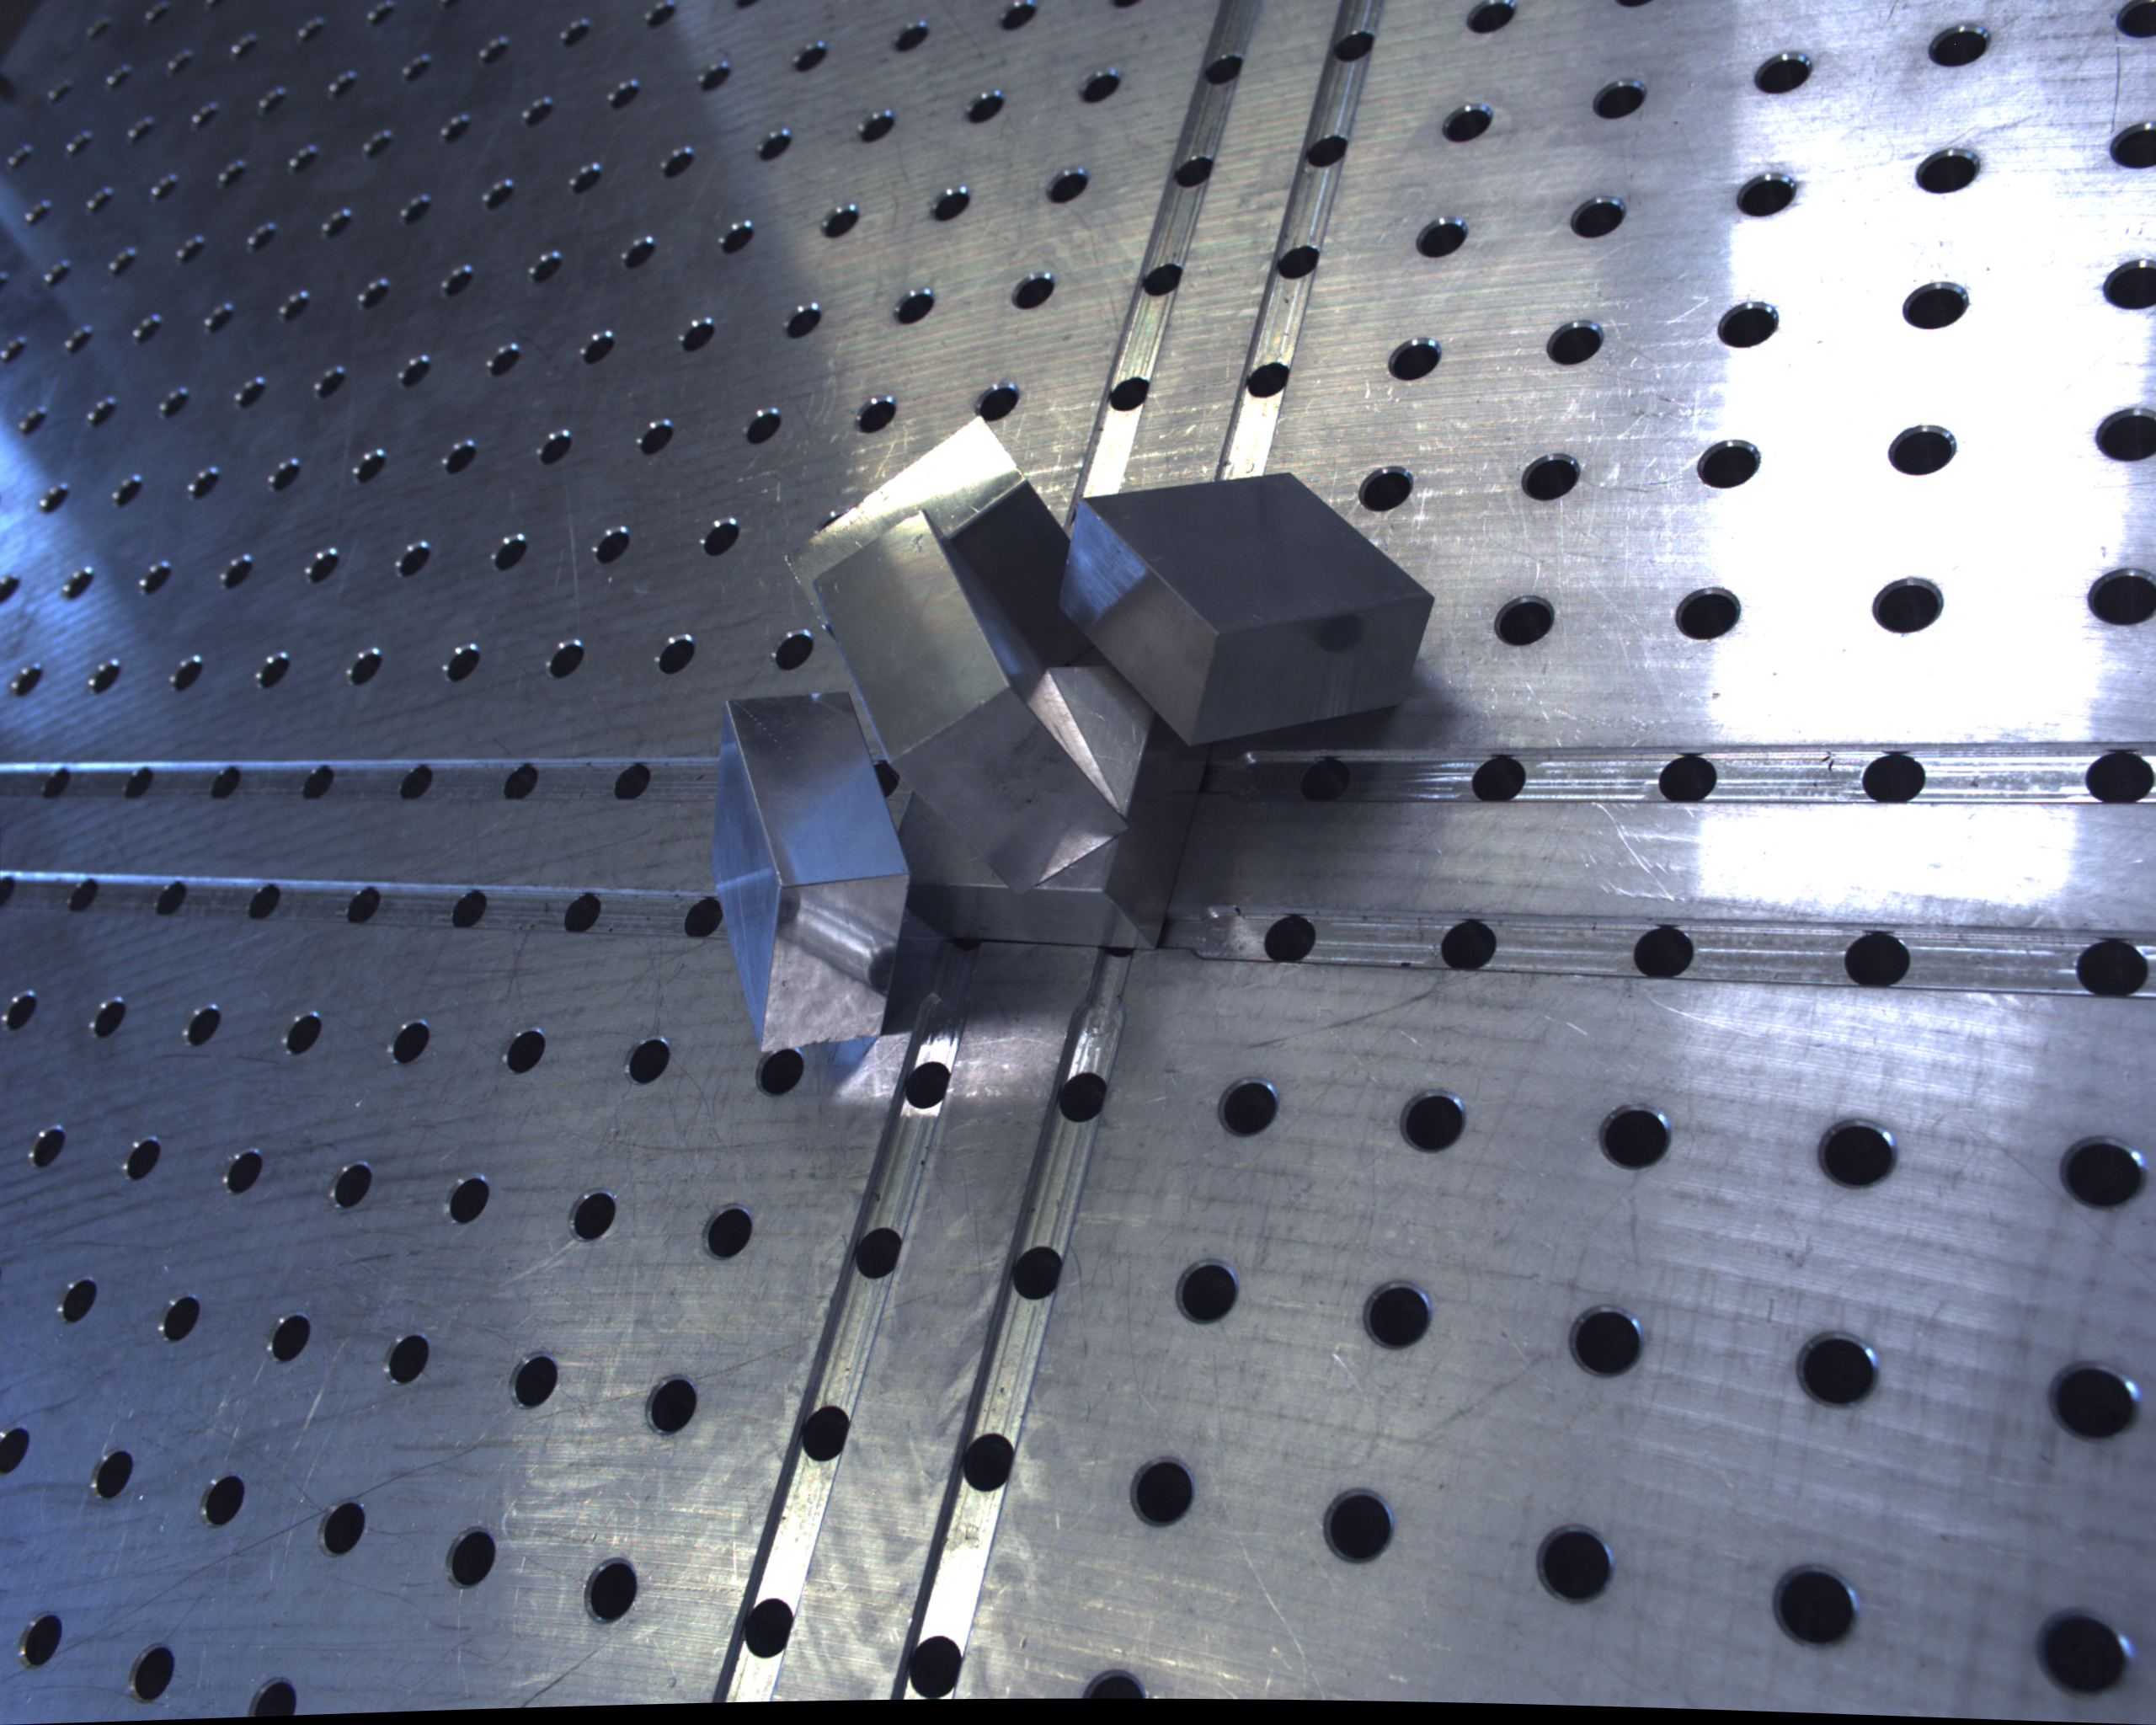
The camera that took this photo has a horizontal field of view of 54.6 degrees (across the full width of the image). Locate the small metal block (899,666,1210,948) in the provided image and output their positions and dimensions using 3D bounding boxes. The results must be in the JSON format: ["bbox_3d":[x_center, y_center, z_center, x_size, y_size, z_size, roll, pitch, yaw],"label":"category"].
[{"bbox_3d":[-0.005,-0.012,0.419,0.050,0.025,0.050,1,62,27],"label":"small metal block"}]

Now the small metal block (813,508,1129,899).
[{"bbox_3d":[-0.020,-0.029,0.389,0.025,0.050,0.050,-31,52,8],"label":"small metal block"}]

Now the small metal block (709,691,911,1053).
[{"bbox_3d":[-0.055,0.002,0.417,0.025,0.050,0.050,-6,50,-20],"label":"small metal block"}]

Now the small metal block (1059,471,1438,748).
[{"bbox_3d":[0.032,-0.051,0.406,0.050,0.025,0.050,-13,44,-29],"label":"small metal block"}]

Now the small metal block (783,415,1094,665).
[{"bbox_3d":[-0.025,-0.057,0.442,0.050,0.050,0.025,-35,51,5],"label":"small metal block"}]
